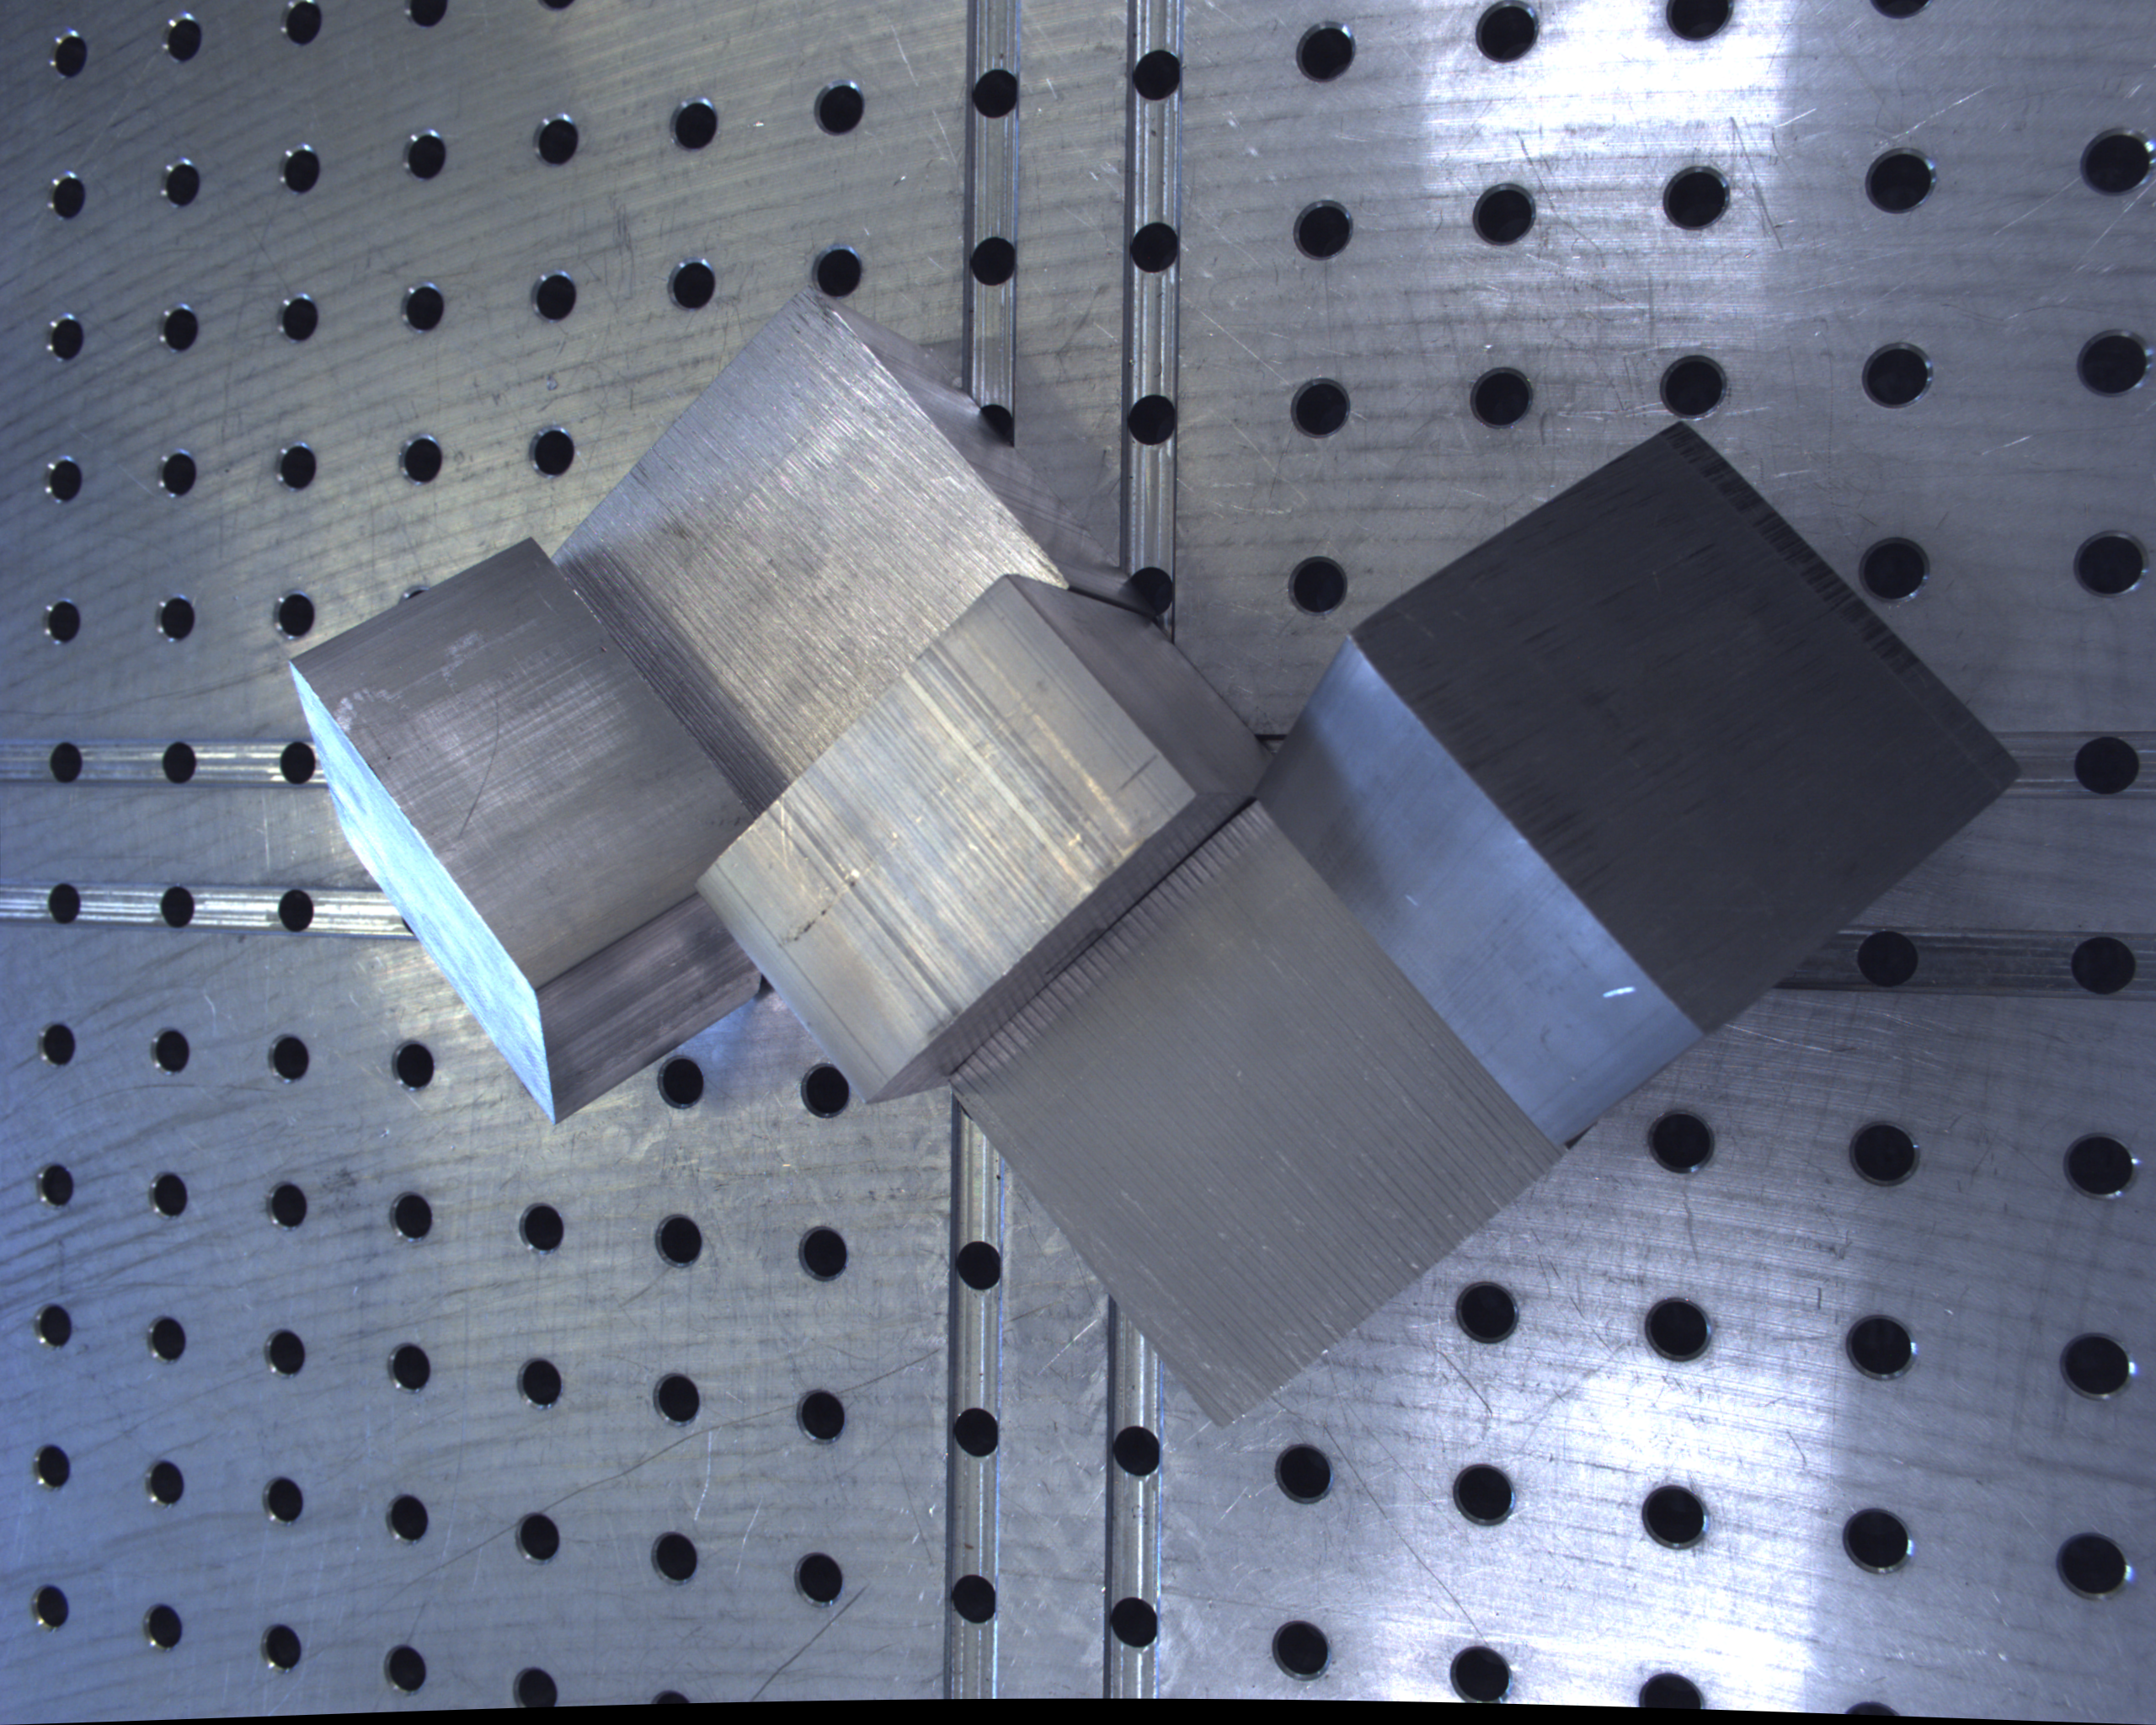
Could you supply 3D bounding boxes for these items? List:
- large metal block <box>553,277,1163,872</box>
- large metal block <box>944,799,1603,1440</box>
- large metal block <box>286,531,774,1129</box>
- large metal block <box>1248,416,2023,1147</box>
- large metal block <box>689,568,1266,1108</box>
[{"bbox_3d":[-0.045,-0.054,0.415,0.080,0.050,0.080,-44,77,16],"label":"large metal block"},{"bbox_3d":[0.036,0.045,0.386,0.080,0.050,0.080,-43,75,15],"label":"large metal block"},{"bbox_3d":[-0.106,-0.004,0.414,0.050,0.080,0.080,-34,76,-23],"label":"large metal block"},{"bbox_3d":[0.090,-0.014,0.345,0.080,0.050,0.080,-34,76,-24],"label":"large metal block"},{"bbox_3d":[-0.011,-0.004,0.387,0.080,0.080,0.050,-44,78,15],"label":"large metal block"}]
